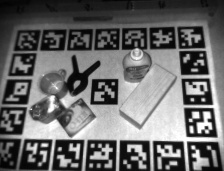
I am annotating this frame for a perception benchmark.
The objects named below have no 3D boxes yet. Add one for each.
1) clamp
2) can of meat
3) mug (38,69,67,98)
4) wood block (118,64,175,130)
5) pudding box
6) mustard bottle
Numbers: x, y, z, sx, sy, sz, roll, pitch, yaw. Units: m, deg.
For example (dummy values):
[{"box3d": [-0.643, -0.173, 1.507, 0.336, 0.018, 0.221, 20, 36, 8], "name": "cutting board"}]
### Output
[{"box3d": [-0.131, -0.045, 0.823, 0.121, 0.037, 0.165, 18, 76, 9], "name": "clamp"}, {"box3d": [-0.231, 0.085, 0.752, 0.102, 0.084, 0.057, -30, 72, -5], "name": "can of meat"}, {"box3d": [-0.214, -0.008, 0.812, 0.093, 0.082, 0.117, 21, 76, 12], "name": "mug"}, {"box3d": [0.118, 0.038, 0.746, 0.089, 0.091, 0.207, 35, 76, 17], "name": "wood block"}, {"box3d": [-0.131, 0.113, 0.764, 0.114, 0.039, 0.089, -38, 73, -10], "name": "pudding box"}, {"box3d": [0.074, -0.077, 0.729, 0.096, 0.192, 0.058, -6, 71, 5], "name": "mustard bottle"}]
